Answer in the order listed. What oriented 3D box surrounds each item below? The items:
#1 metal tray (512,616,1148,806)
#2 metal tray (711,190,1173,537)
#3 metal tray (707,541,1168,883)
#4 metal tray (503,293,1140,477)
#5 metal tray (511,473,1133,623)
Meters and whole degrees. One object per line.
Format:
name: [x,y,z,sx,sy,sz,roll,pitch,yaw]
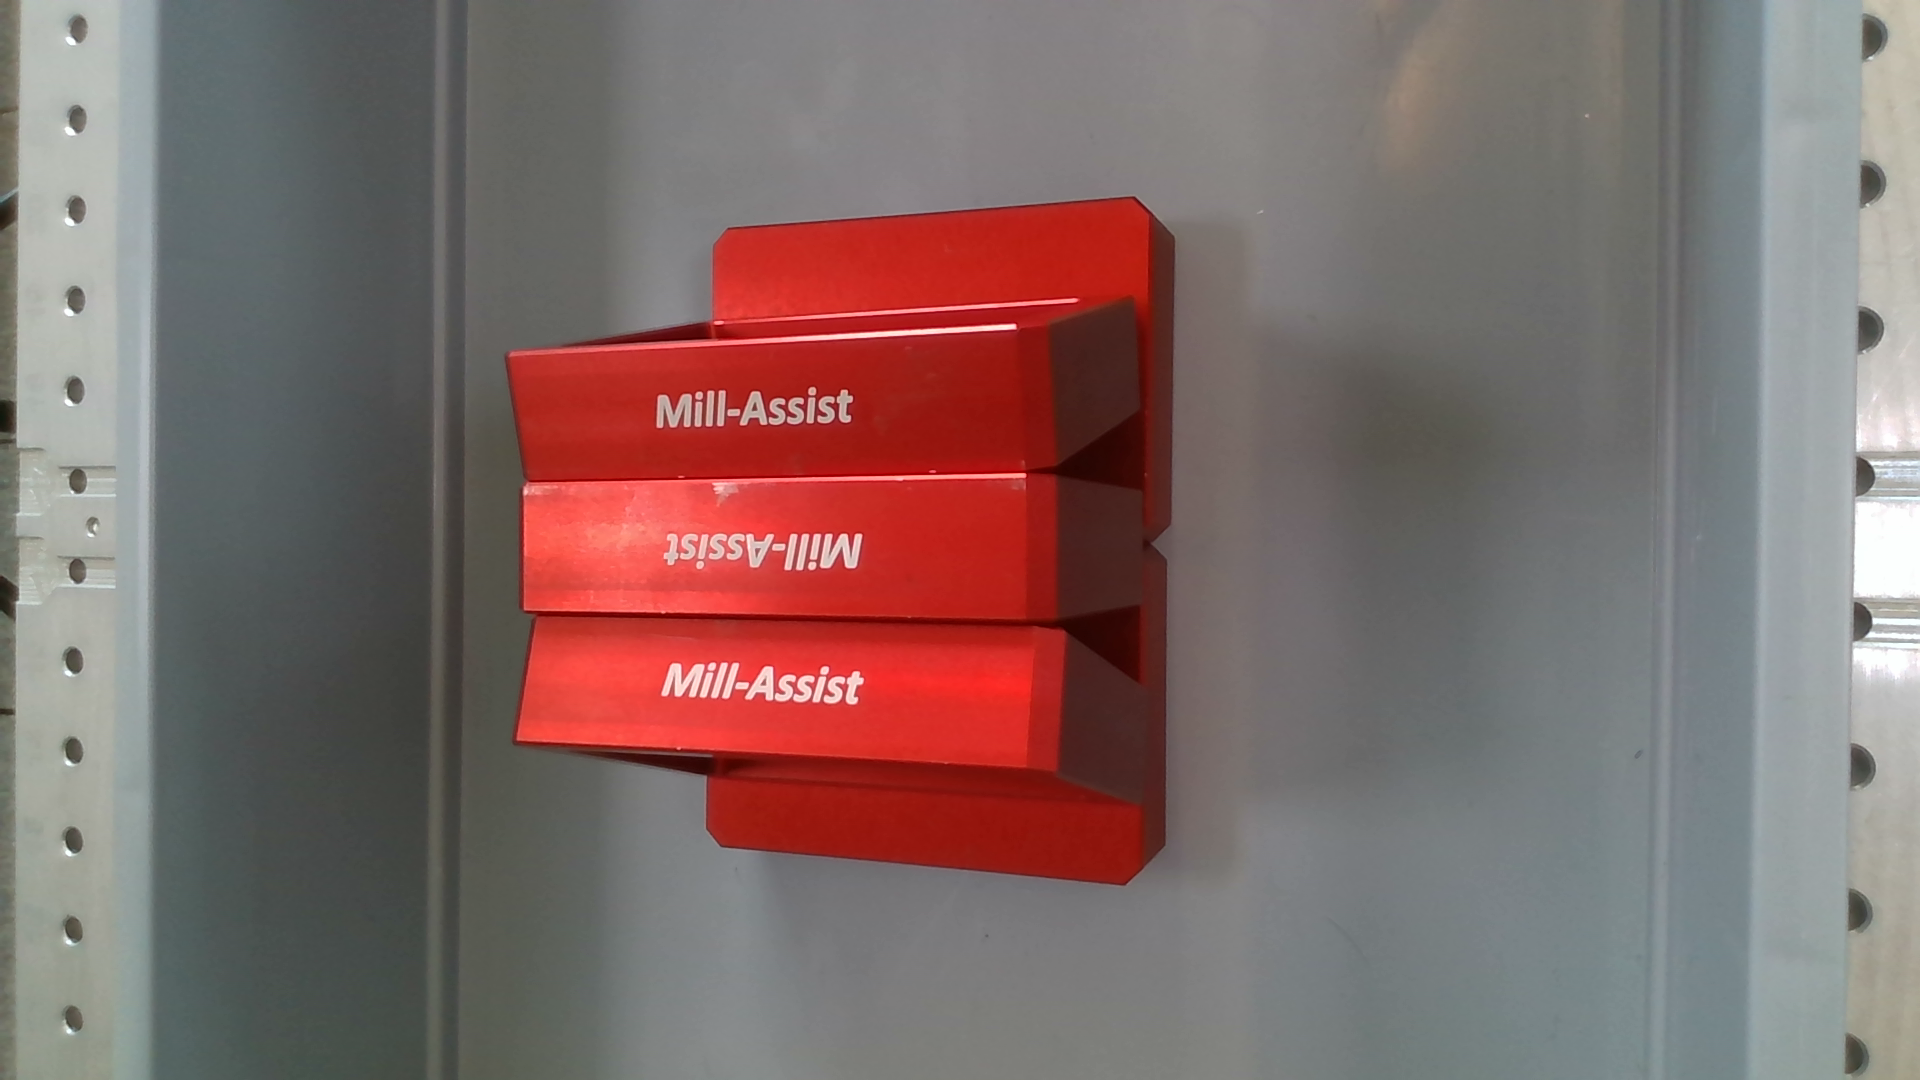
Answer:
metal tray: [-0.028,0.042,0.334,0.130,0.090,0.030,0,76,20]
metal tray: [-0.007,-0.046,0.391,0.130,0.030,0.090,0,90,20]
metal tray: [-0.008,0.044,0.393,0.130,0.030,0.090,0,90,20]
metal tray: [-0.030,-0.039,0.334,0.130,0.090,0.030,0,103,20]
metal tray: [-0.029,0.002,0.335,0.130,0.090,0.030,0,90,18]
